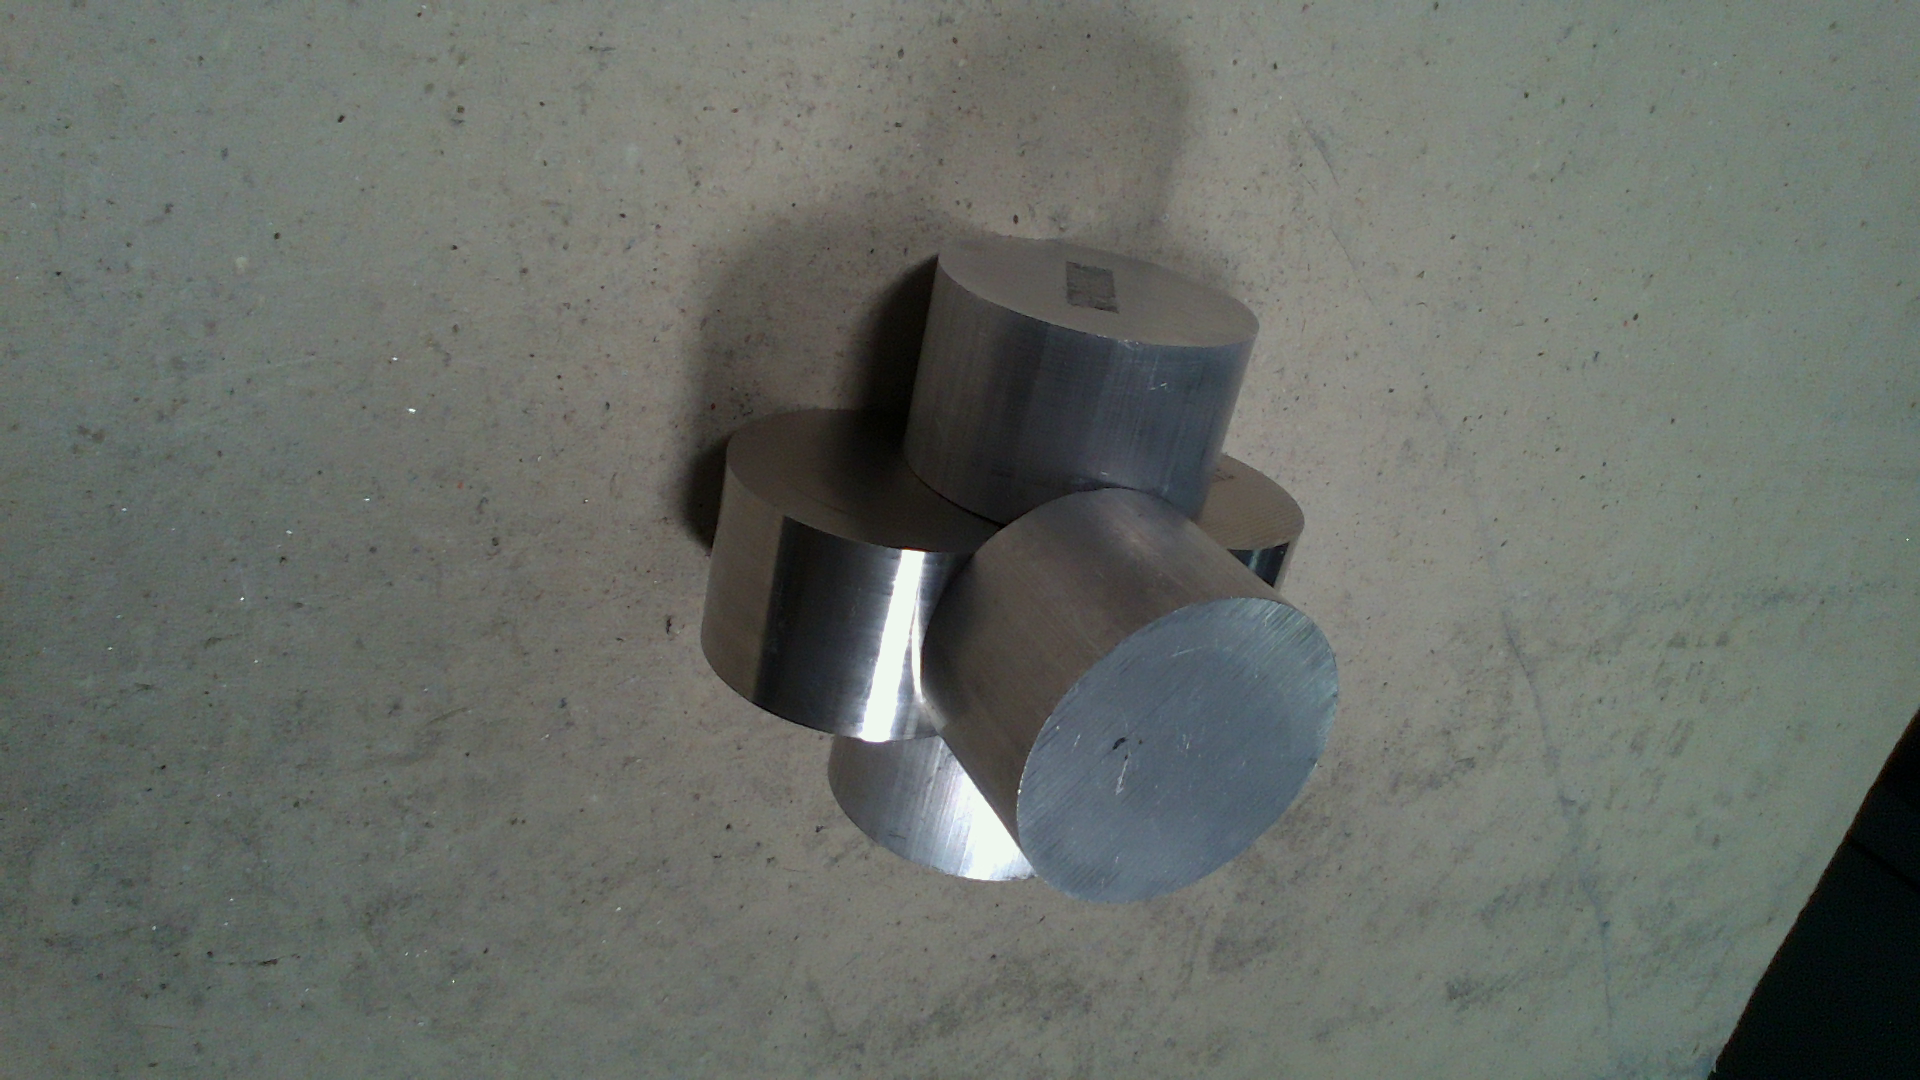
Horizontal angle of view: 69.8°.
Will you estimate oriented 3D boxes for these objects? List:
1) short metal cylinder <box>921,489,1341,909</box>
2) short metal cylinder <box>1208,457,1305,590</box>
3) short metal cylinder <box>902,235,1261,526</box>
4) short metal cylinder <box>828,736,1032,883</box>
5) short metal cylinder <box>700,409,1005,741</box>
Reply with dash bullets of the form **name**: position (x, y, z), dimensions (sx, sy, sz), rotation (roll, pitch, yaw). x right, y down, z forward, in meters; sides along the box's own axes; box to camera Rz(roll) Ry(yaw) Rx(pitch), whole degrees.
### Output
- **short metal cylinder**: position (0.038, 0.035, 0.312), dimensions (0.080, 0.050, 0.080), rotation (-14, 124, -21)
- **short metal cylinder**: position (0.049, 0.006, 0.384), dimensions (0.080, 0.080, 0.050), rotation (-1, 119, -28)
- **short metal cylinder**: position (0.029, -0.040, 0.345), dimensions (0.080, 0.080, 0.050), rotation (-2, 119, -27)
- **short metal cylinder**: position (0.006, 0.050, 0.388), dimensions (0.080, 0.080, 0.050), rotation (0, 119, -28)
- **short metal cylinder**: position (-0.022, 0.006, 0.346), dimensions (0.080, 0.080, 0.050), rotation (-1, 119, -28)
